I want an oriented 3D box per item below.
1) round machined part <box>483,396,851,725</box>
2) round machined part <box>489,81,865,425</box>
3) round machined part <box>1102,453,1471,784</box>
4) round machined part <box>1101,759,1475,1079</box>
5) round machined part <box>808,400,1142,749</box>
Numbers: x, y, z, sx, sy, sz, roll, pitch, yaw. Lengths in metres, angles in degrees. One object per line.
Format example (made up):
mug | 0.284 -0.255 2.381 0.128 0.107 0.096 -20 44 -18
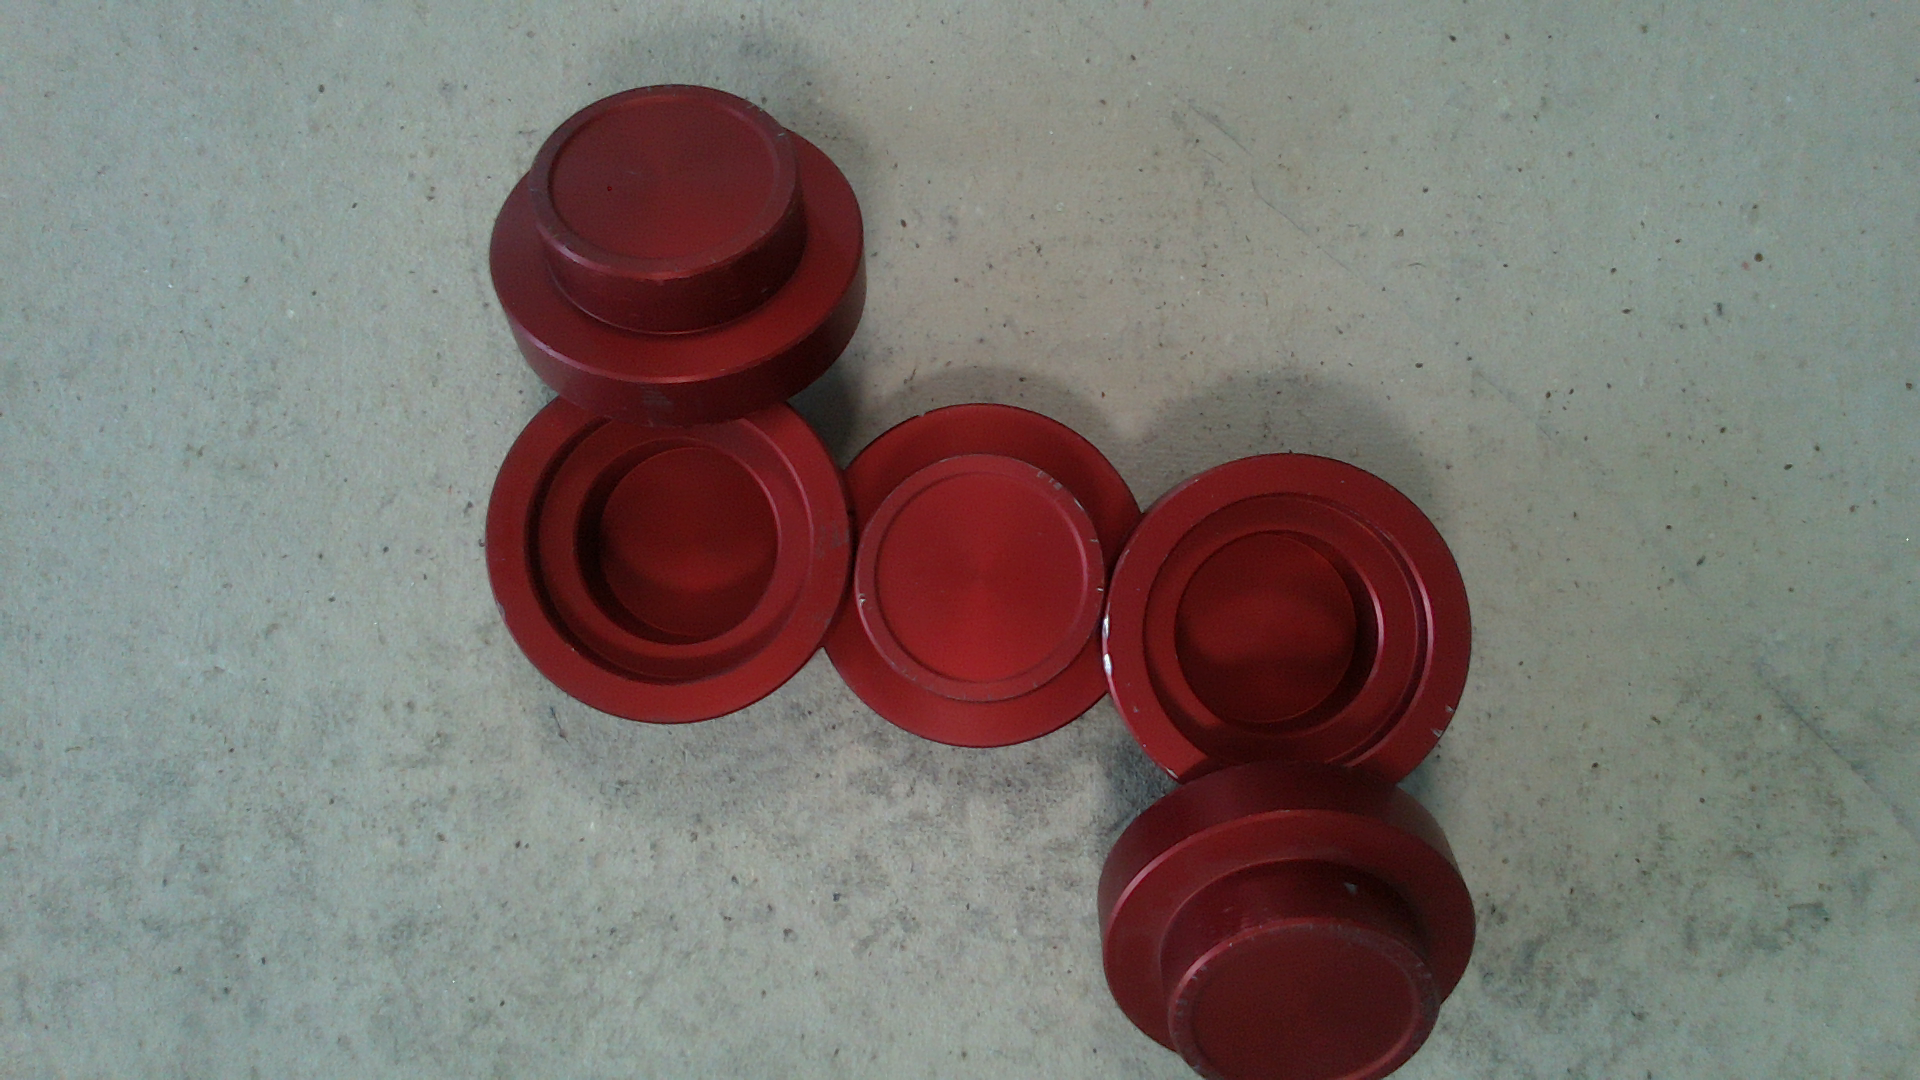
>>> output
round machined part | -0.078 0.000 0.386 0.098 0.042 0.098 0 91 1
round machined part | -0.075 -0.082 0.364 0.098 0.042 0.098 1 59 -1
round machined part | 0.087 0.026 0.387 0.098 0.042 0.098 0 91 1
round machined part | 0.087 0.110 0.365 0.098 0.042 0.098 0 119 0
round machined part | 0.006 0.010 0.386 0.098 0.042 0.098 0 88 1
